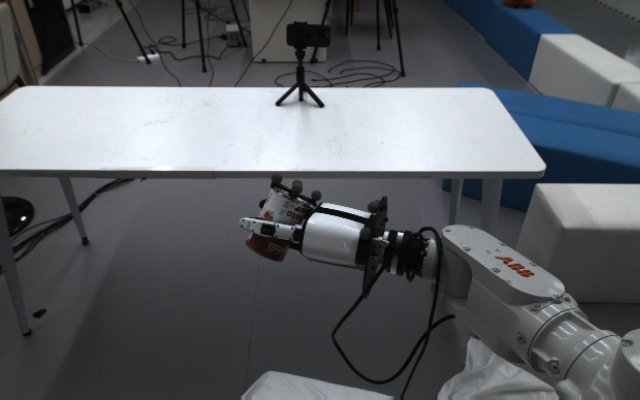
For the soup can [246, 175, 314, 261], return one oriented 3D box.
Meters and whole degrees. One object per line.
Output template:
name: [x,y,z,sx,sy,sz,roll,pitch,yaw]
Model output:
soup can: [-0.066,0.038,0.768,0.067,0.101,0.067,27,6,-3]
